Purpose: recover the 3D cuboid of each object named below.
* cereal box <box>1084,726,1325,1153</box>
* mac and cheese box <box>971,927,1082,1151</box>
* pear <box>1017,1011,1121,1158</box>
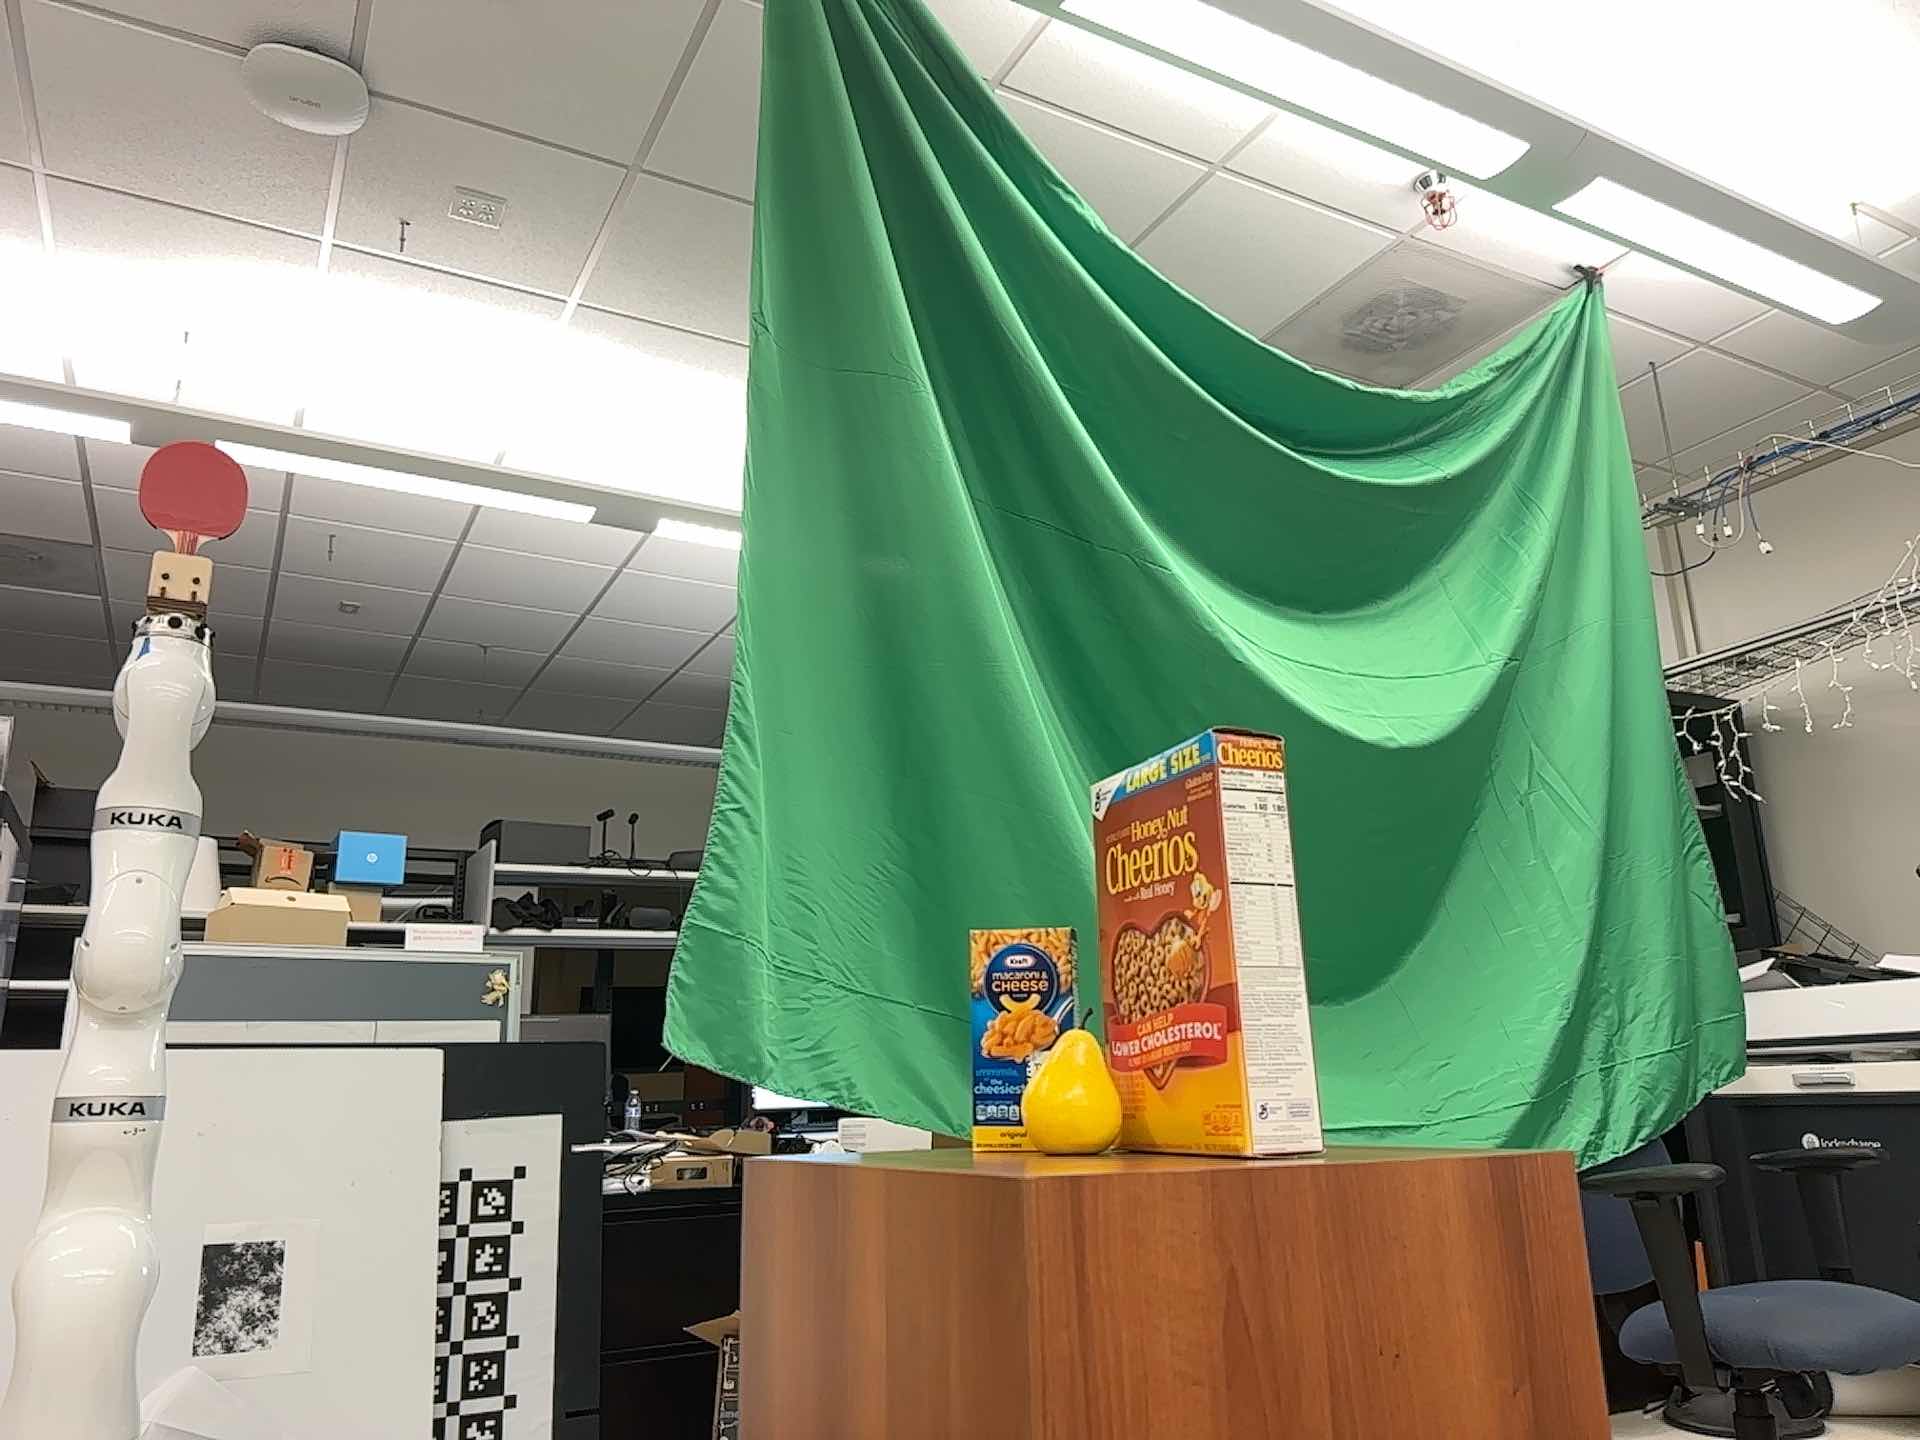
[{"bbox_3d":[0.181,0.176,1.057,0.065,0.297,0.195,3,-15,-23],"label":"cereal box"},{"bbox_3d":[0.058,0.272,1.154,0.088,0.181,0.035,-6,-14,17],"label":"mac and cheese box"},{"bbox_3d":[0.086,0.283,1.053,0.080,0.111,0.080,3,-14,1],"label":"pear"}]
